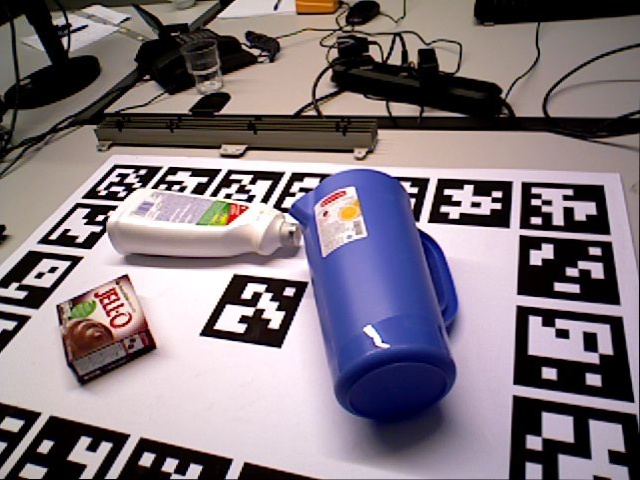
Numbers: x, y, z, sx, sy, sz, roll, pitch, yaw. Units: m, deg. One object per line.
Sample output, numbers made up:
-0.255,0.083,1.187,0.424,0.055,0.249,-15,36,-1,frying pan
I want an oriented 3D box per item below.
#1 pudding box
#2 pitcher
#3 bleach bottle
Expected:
-0.253,0.095,0.620,0.088,0.039,0.113,-21,43,-20,pudding box
0.066,0.055,0.551,0.187,0.137,0.239,14,40,-25,pitcher
-0.152,-0.020,0.715,0.251,0.069,0.100,3,47,14,bleach bottle
